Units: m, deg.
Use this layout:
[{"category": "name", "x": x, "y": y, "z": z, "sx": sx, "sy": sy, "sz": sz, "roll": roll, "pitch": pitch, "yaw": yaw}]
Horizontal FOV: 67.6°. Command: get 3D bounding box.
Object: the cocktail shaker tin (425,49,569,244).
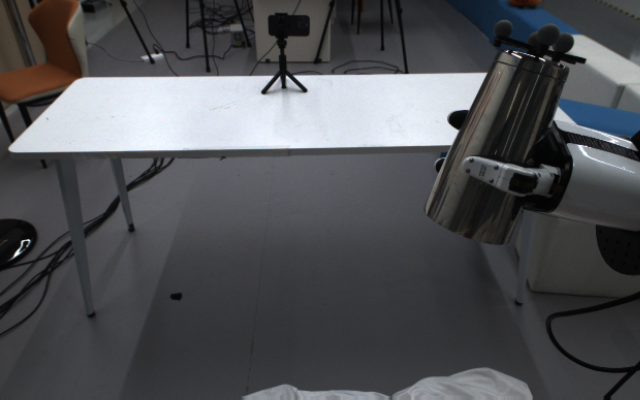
[{"category": "cocktail shaker tin", "x": 0.177, "y": -0.053, "z": 0.476, "sx": 0.093, "sy": 0.170, "sz": 0.093, "roll": 15, "pitch": 19, "yaw": -5}]
